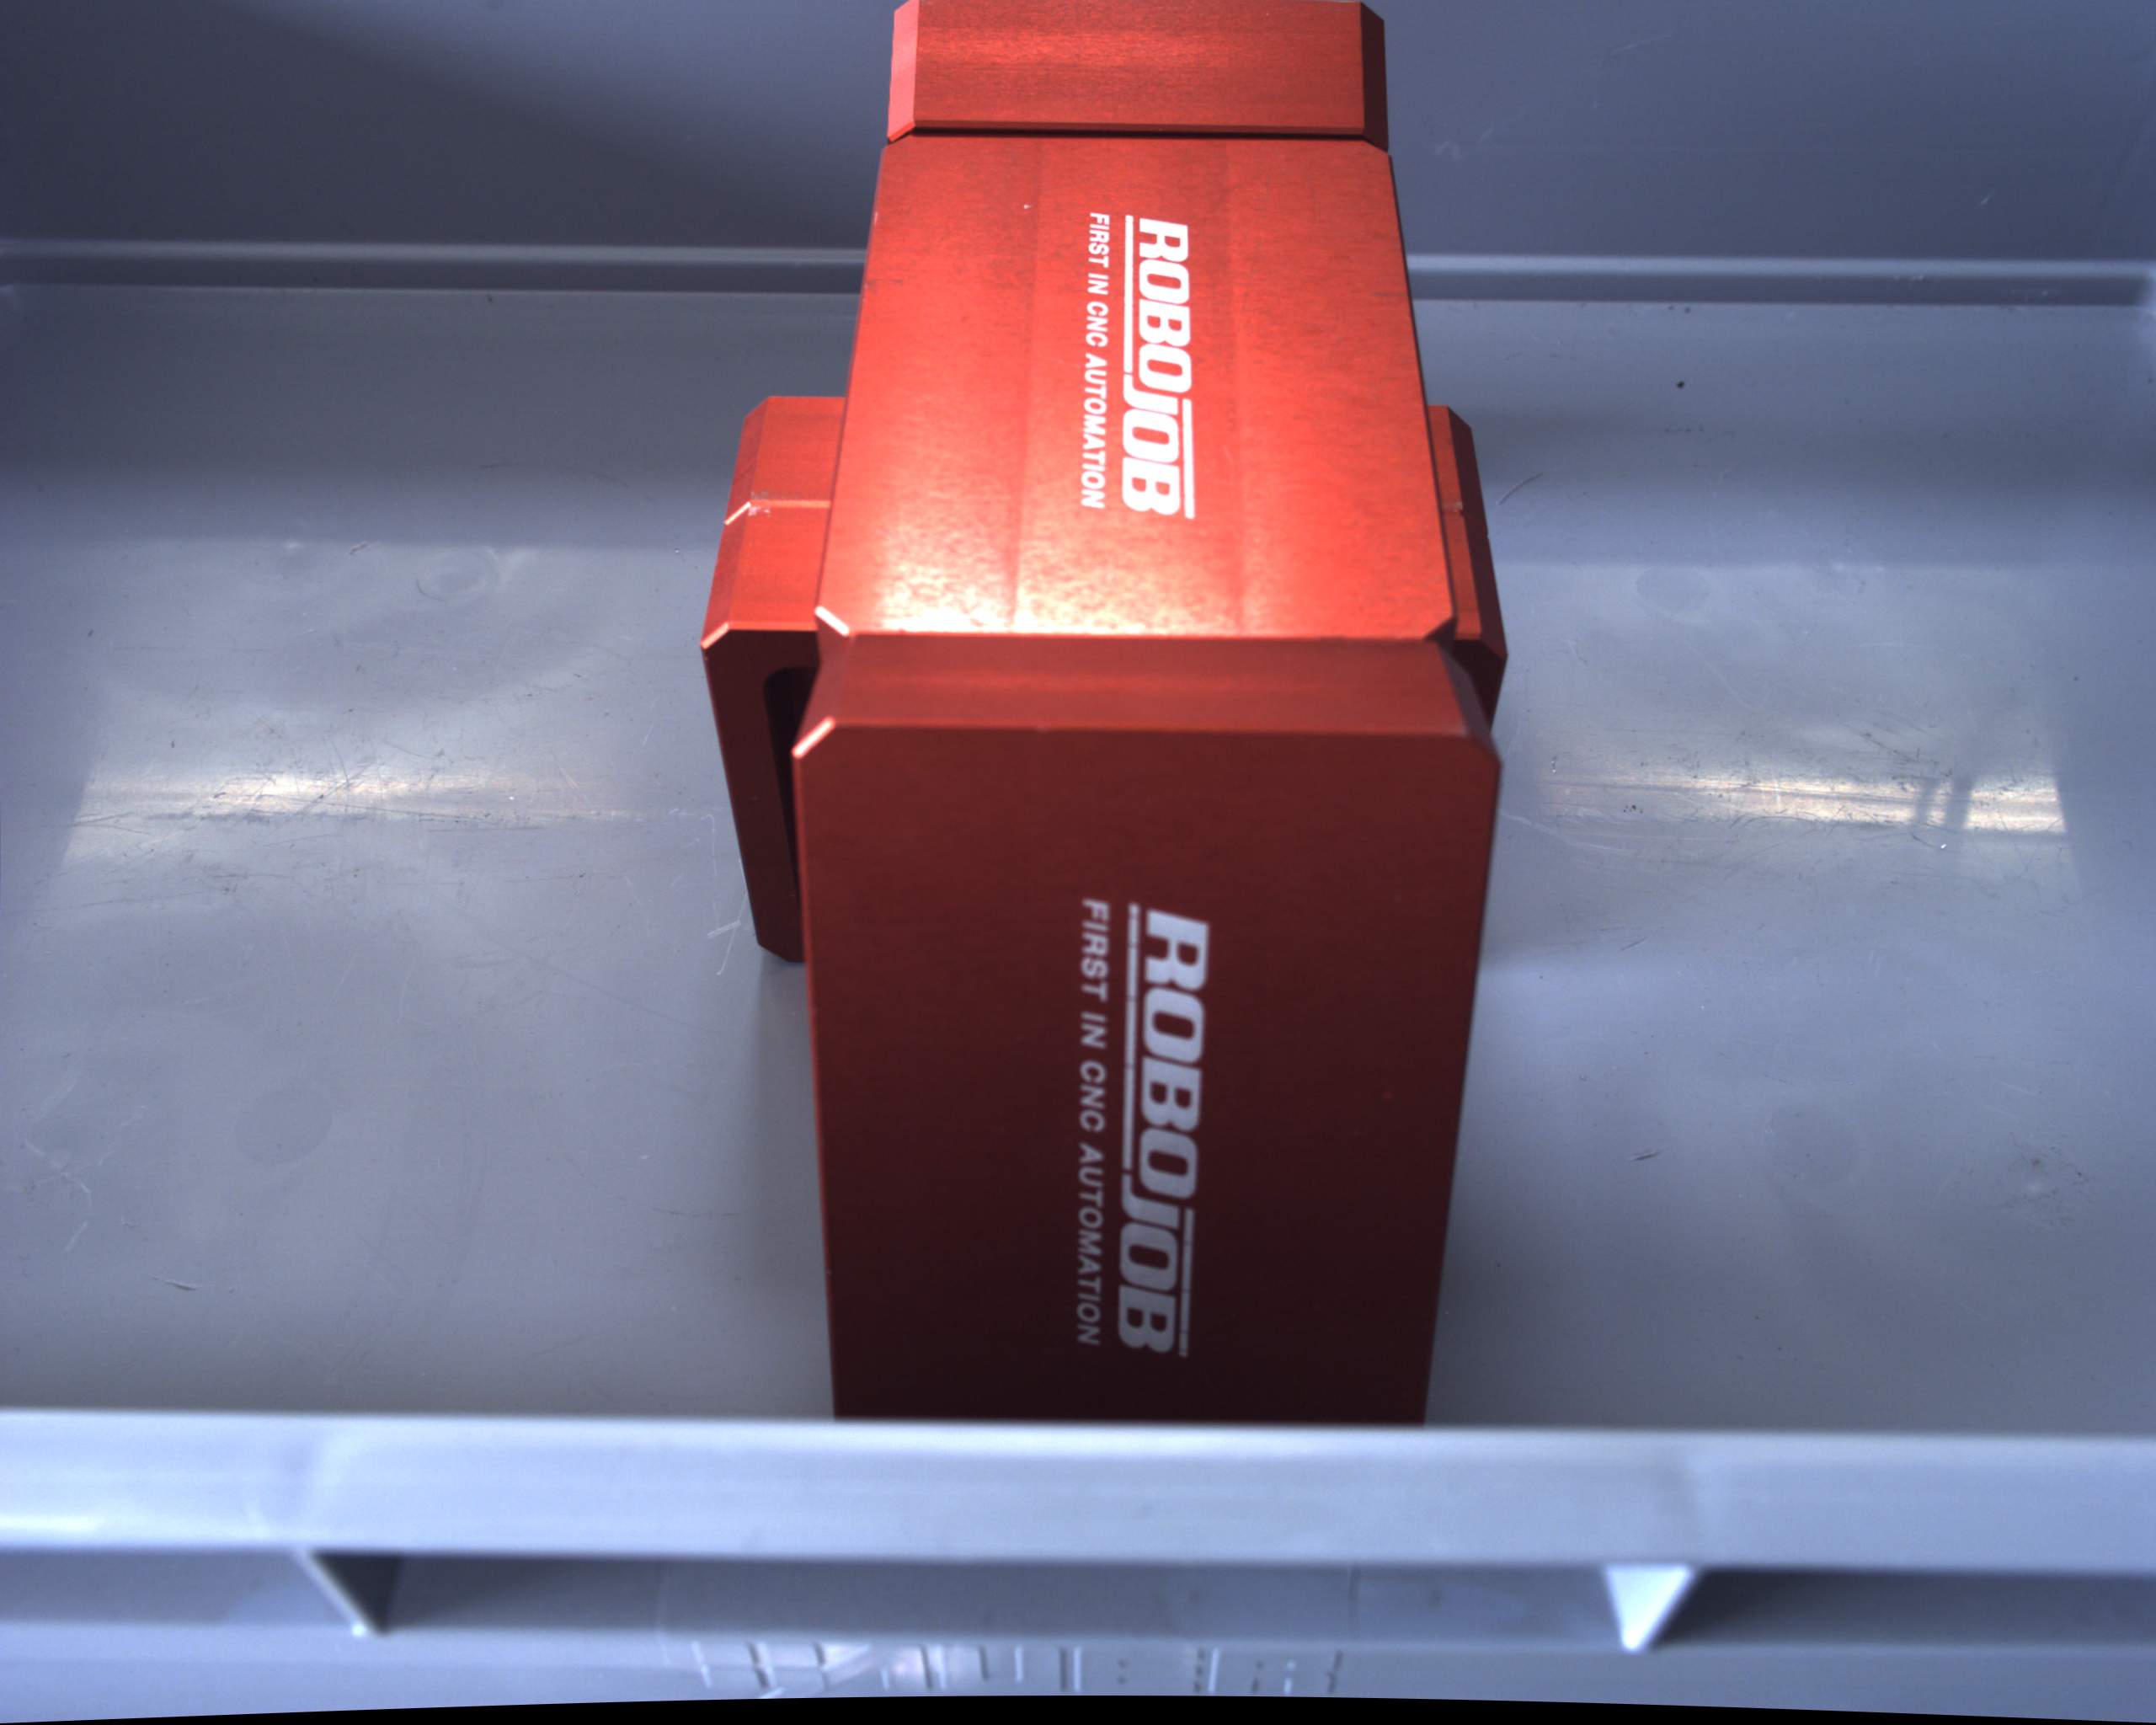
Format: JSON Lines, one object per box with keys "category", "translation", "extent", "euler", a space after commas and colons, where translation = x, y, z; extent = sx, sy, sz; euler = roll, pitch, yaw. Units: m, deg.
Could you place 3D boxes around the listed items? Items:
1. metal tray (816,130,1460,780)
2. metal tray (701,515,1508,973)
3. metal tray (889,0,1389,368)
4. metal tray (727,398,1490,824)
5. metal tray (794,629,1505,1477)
{"category": "metal tray", "translation": [0.009, -0.072, 0.343], "extent": [0.091, 0.030, 0.130], "euler": [1, 50, 0]}
{"category": "metal tray", "translation": [0.005, -0.019, 0.378], "extent": [0.131, 0.090, 0.030], "euler": [1, 50, 0]}
{"category": "metal tray", "translation": [0.011, -0.124, 0.438], "extent": [0.091, 0.130, 0.030], "euler": [1, 71, 0]}
{"category": "metal tray", "translation": [0.005, -0.043, 0.397], "extent": [0.131, 0.090, 0.030], "euler": [1, 50, 0]}
{"category": "metal tray", "translation": [0.009, 0.032, 0.306], "extent": [0.091, 0.129, 0.030], "euler": [1, 28, 0]}
